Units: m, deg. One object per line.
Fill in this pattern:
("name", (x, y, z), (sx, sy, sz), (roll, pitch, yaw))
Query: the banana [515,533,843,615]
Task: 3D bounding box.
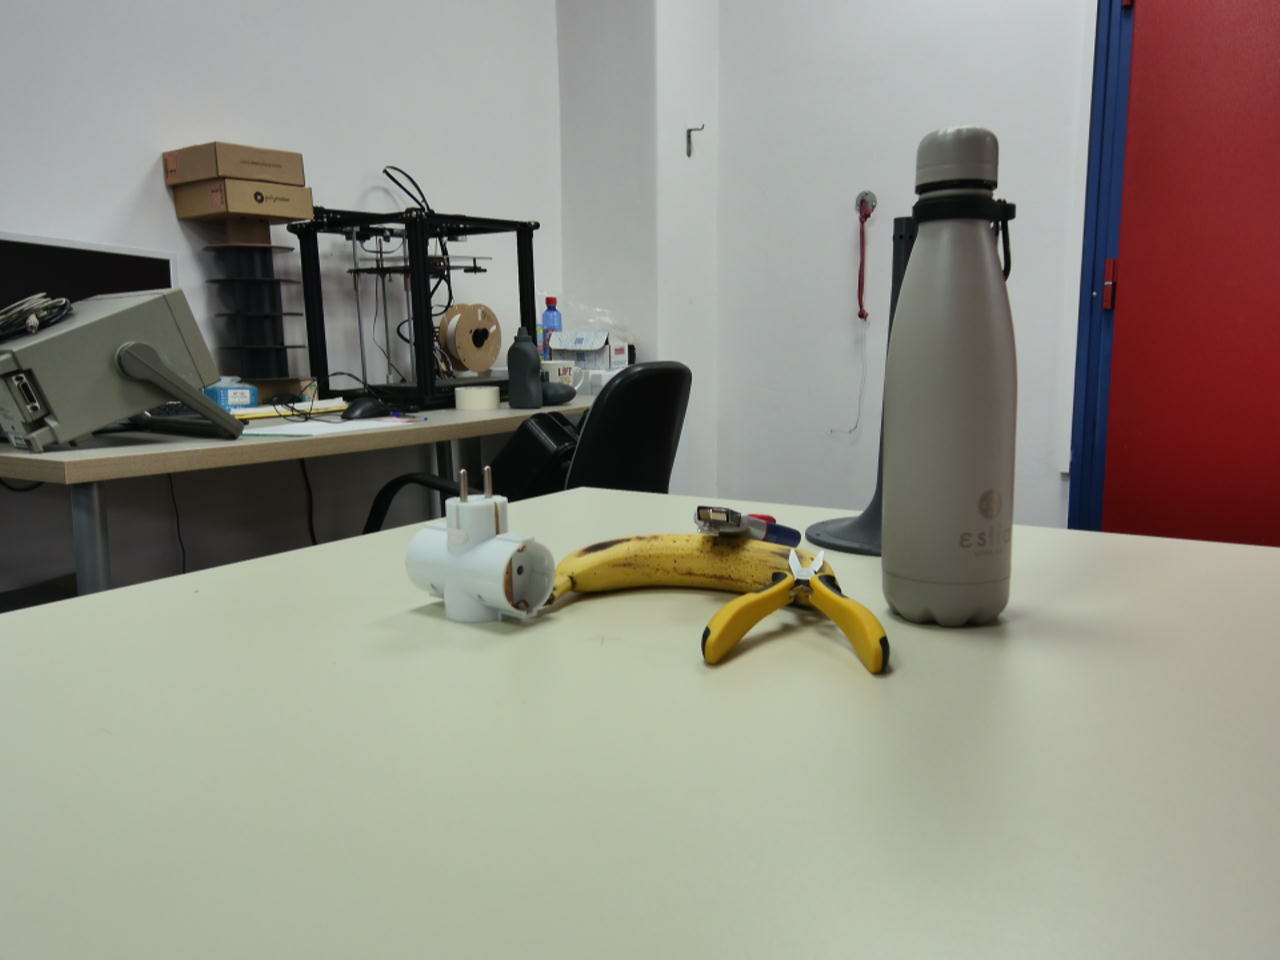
("banana", (0.031, 0.058, 0.633), (0.186, 0.038, 0.097), (1, 6, 7))
